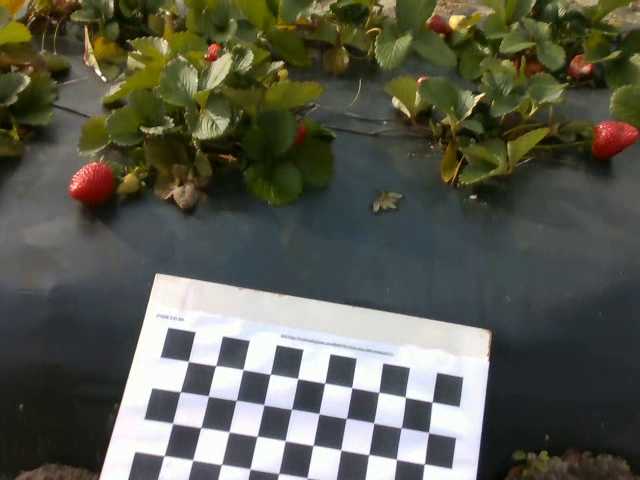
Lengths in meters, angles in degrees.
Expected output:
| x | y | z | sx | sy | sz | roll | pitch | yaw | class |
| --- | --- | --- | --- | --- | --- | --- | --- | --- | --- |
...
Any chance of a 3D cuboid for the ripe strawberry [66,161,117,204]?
| x | y | z | sx | sy | sz | roll | pitch | yaw | class |
| --- | --- | --- | --- | --- | --- | --- | --- | --- | --- |
| -0.229 | -0.043 | 0.589 | 0.045 | 0.051 | 0.058 | 12 | 23 | -2 | ripe strawberry |
